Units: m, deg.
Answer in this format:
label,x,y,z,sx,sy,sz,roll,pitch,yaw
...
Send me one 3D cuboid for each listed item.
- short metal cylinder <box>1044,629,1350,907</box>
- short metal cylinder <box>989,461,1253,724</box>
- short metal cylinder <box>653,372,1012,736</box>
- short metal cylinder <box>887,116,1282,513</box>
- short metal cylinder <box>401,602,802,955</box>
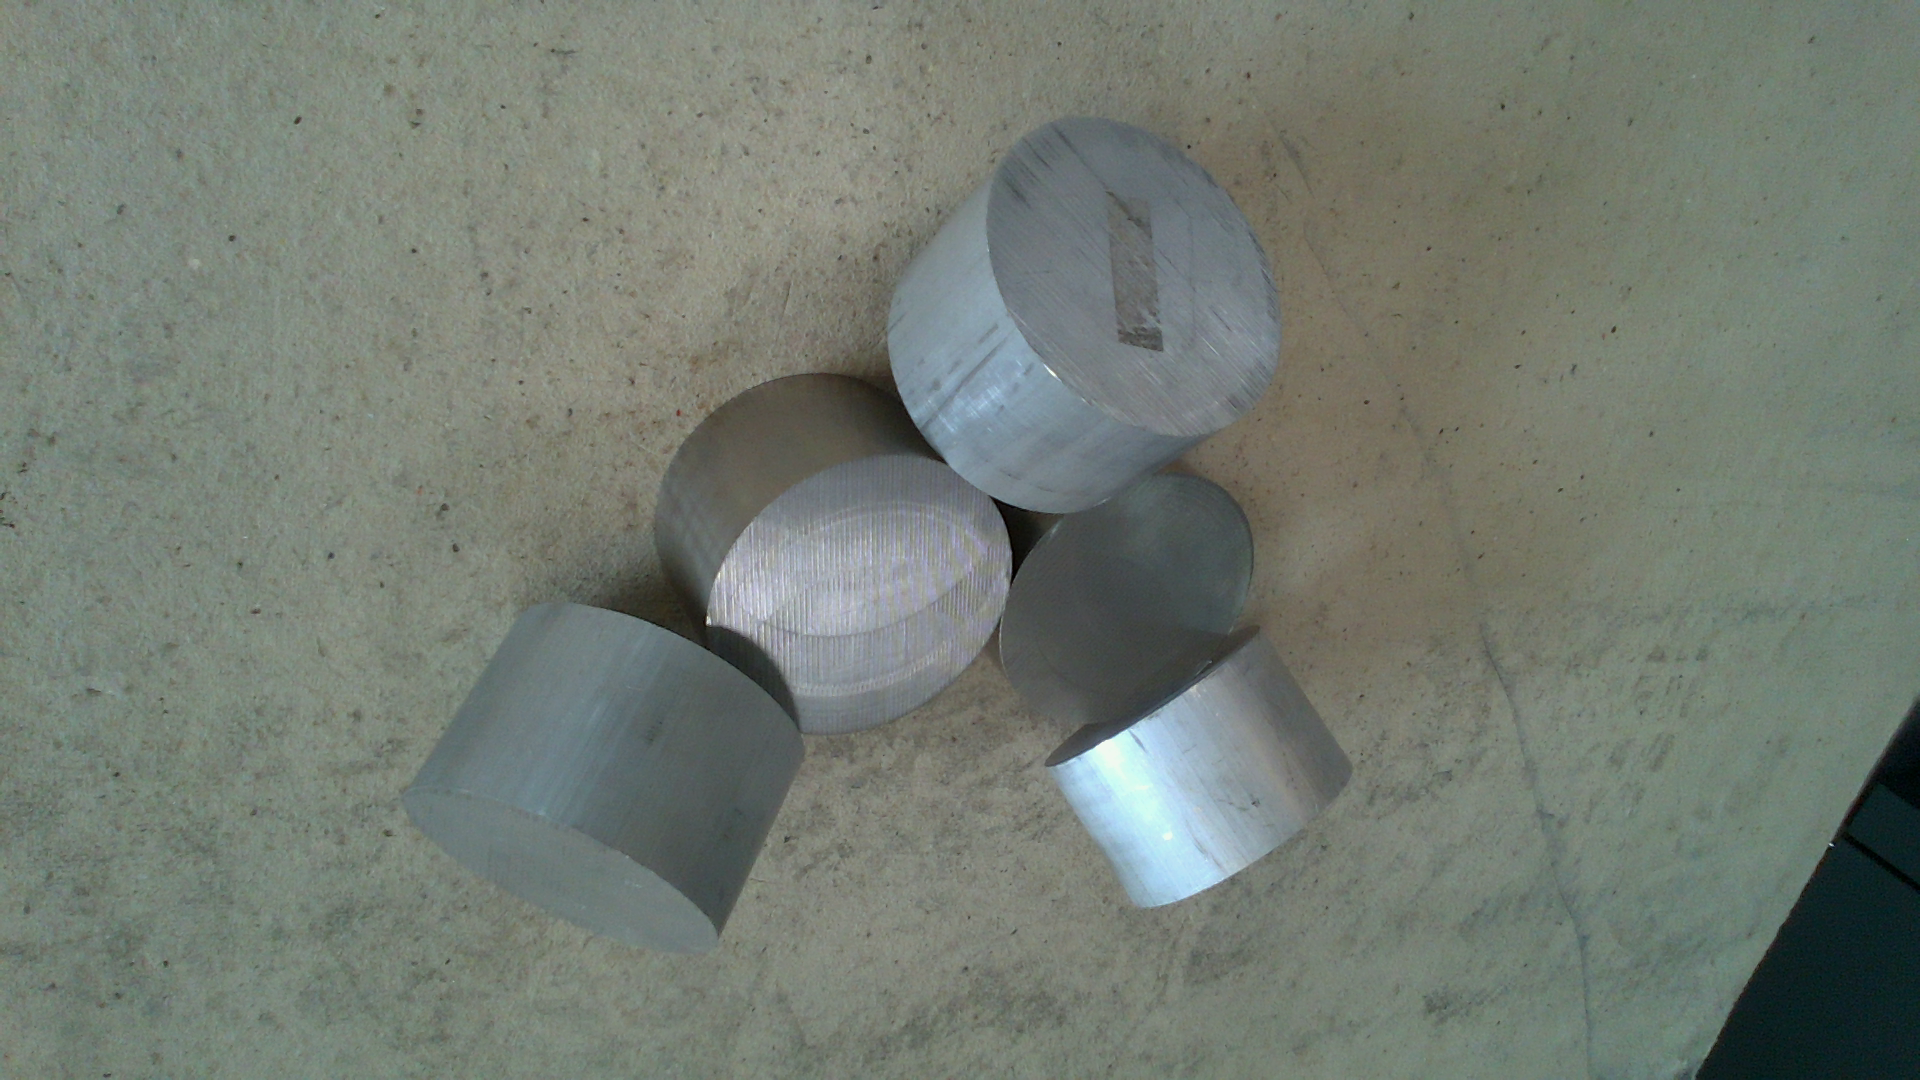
label,x,y,z,sx,sy,sz,roll,pitch,yaw
short metal cylinder,0.073,0.069,0.428,0.080,0.080,0.050,-32,87,-7
short metal cylinder,0.036,0.005,0.396,0.080,0.050,0.080,-14,124,-21
short metal cylinder,-0.034,0.003,0.357,0.080,0.050,0.080,-14,124,-21
short metal cylinder,0.029,-0.052,0.330,0.080,0.080,0.050,2,160,-29
short metal cylinder,-0.086,0.059,0.336,0.080,0.080,0.050,55,46,-39
